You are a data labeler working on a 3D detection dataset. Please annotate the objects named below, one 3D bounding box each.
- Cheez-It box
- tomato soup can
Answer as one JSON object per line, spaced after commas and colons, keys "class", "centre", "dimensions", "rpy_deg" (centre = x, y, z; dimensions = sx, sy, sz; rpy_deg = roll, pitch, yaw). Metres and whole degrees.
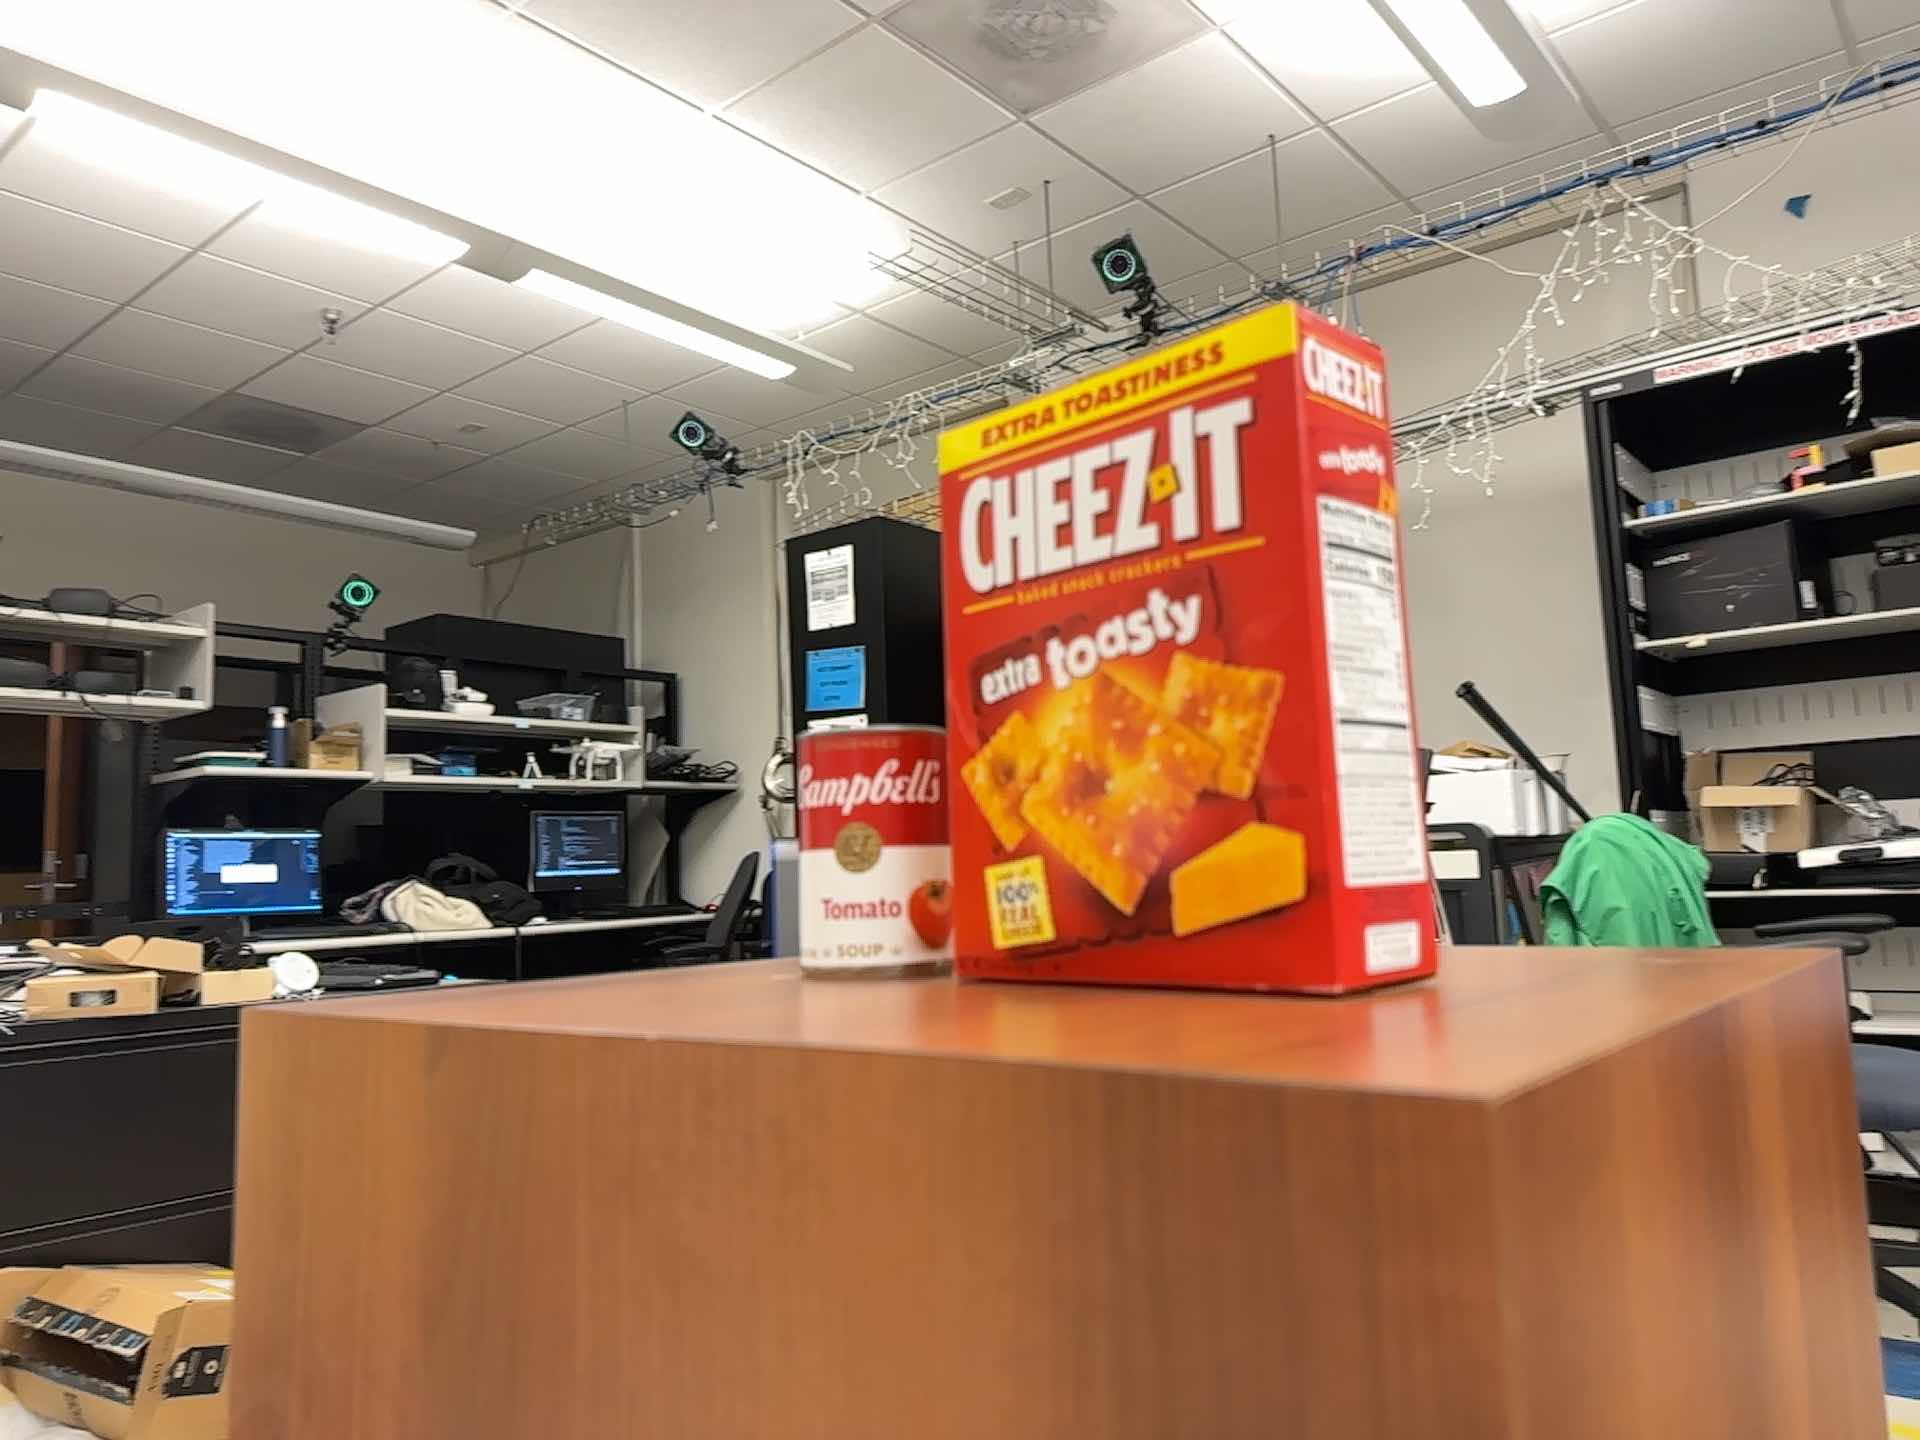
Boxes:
{"class": "Cheez-It box", "centre": [0.075, -0.020, 0.485], "dimensions": [0.159, 0.214, 0.062], "rpy_deg": [-10, -12, 43]}
{"class": "tomato soup can", "centre": [-0.035, 0.056, 0.565], "dimensions": [0.067, 0.102, 0.067], "rpy_deg": [-1, -9, 0]}
